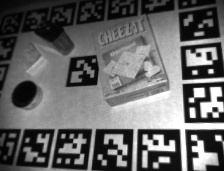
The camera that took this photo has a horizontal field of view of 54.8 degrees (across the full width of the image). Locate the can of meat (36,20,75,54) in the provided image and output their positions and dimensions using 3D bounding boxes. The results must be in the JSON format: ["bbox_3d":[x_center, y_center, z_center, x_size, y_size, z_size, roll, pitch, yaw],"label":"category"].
[{"bbox_3d":[-0.182,-0.156,0.709,0.100,0.084,0.058,29,79,27],"label":"can of meat"}]

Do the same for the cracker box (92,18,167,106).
[{"bbox_3d":[0.041,-0.068,0.606,0.163,0.073,0.212,-17,62,9],"label":"cracker box"}]

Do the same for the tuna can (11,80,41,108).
[{"bbox_3d":[-0.268,0.028,0.675,0.085,0.034,0.085,-6,70,16],"label":"tuna can"}]

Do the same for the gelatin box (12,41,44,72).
[{"bbox_3d":[-0.287,-0.101,0.740,0.073,0.030,0.088,-45,65,-8],"label":"gelatin box"}]
